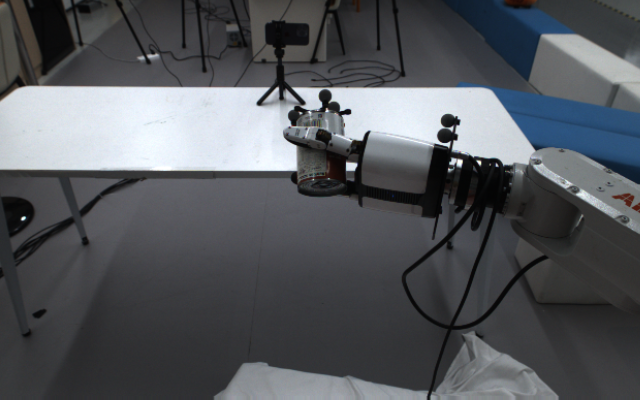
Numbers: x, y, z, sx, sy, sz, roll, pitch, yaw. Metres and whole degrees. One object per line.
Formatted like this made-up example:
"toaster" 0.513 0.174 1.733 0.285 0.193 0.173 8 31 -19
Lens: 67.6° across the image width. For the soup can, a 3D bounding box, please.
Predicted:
"soup can" 0.003 -0.063 0.653 0.067 0.067 0.101 -1 71 -5
